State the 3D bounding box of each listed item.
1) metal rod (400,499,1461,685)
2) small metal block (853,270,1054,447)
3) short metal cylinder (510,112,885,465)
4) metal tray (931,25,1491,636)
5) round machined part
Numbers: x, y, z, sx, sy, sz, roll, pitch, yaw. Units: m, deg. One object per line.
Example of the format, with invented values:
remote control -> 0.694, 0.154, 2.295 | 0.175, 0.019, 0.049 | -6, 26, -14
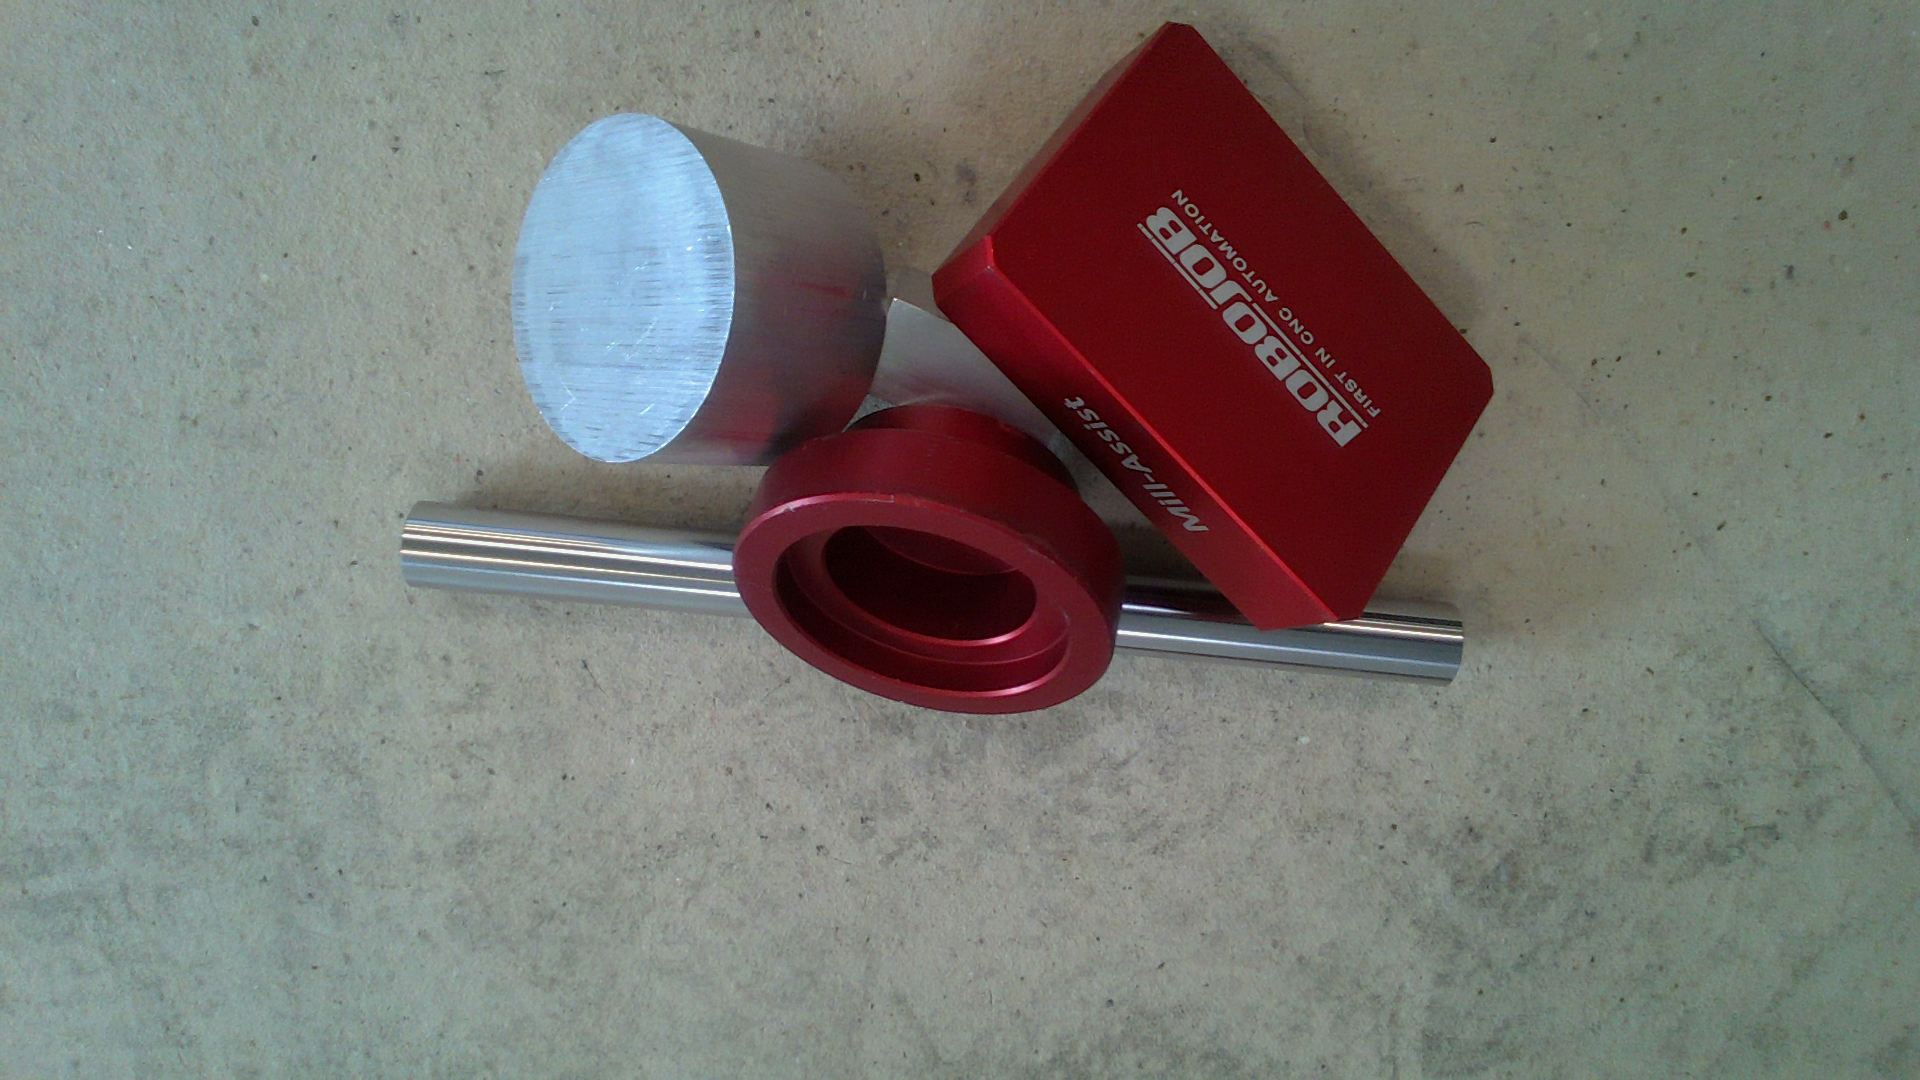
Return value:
metal rod -> -0.006, 0.016, 0.400 | 0.300, 0.025, 0.025 | 6, 110, -2
small metal block -> 0.002, -0.046, 0.362 | 0.050, 0.050, 0.025 | 22, 109, -8
short metal cylinder -> -0.065, -0.059, 0.338 | 0.080, 0.050, 0.080 | 1, 92, 38
metal tray -> 0.067, -0.050, 0.346 | 0.130, 0.030, 0.090 | 44, 66, -15
round machined part -> -0.006, 0.003, 0.353 | 0.098, 0.042, 0.098 | 10, 146, 7
